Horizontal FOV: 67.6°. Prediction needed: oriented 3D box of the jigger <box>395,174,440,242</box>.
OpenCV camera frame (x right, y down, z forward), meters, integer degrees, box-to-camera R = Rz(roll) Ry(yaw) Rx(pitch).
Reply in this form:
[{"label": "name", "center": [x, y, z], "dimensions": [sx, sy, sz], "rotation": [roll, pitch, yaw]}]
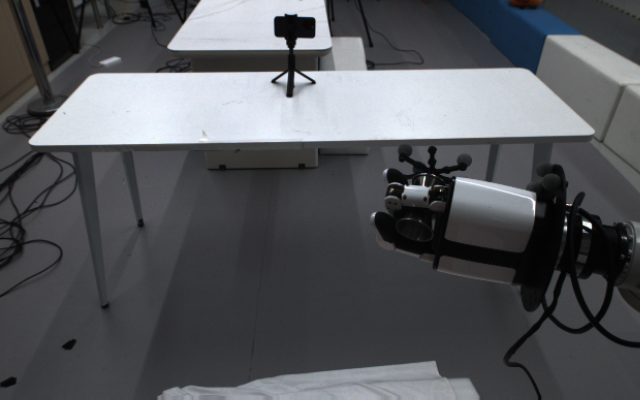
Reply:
[{"label": "jigger", "center": [0.119, 0.007, 0.553], "dimensions": [0.043, 0.043, 0.071], "rotation": [13, 57, 15]}]
